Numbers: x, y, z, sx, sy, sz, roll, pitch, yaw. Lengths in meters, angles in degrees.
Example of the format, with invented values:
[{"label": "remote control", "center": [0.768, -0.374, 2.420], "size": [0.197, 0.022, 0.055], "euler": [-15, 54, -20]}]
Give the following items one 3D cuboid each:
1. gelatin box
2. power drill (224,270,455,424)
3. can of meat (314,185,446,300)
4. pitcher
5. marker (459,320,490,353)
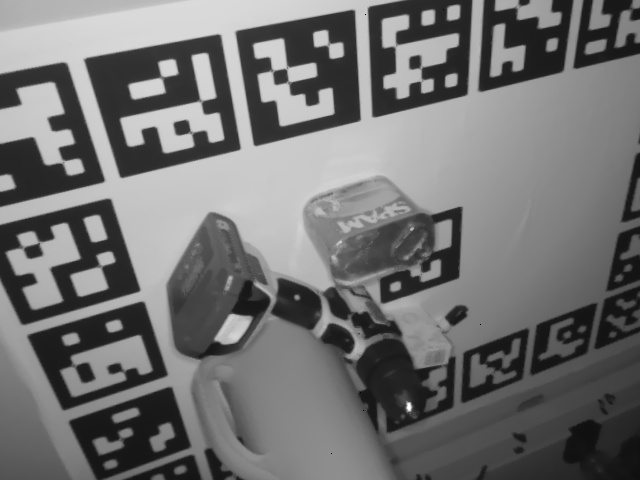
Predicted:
[{"label": "gelatin box", "center": [0.104, 0.120, 0.748], "size": [0.090, 0.073, 0.030], "euler": [-8, 117, -17]}, {"label": "power drill", "center": [0.016, 0.095, 0.629], "size": [0.189, 0.184, 0.057], "euler": [16, 108, -23]}, {"label": "can of meat", "center": [0.053, -0.001, 0.648], "size": [0.103, 0.083, 0.057], "euler": [-19, 125, -11]}, {"label": "pitcher", "center": [-0.004, 0.206, 0.654], "size": [0.191, 0.241, 0.132], "euler": [9, 111, -34]}, {"label": "marker", "center": [0.155, 0.136, 0.809], "size": [0.121, 0.019, 0.020], "euler": [-41, 125, 1]}]
